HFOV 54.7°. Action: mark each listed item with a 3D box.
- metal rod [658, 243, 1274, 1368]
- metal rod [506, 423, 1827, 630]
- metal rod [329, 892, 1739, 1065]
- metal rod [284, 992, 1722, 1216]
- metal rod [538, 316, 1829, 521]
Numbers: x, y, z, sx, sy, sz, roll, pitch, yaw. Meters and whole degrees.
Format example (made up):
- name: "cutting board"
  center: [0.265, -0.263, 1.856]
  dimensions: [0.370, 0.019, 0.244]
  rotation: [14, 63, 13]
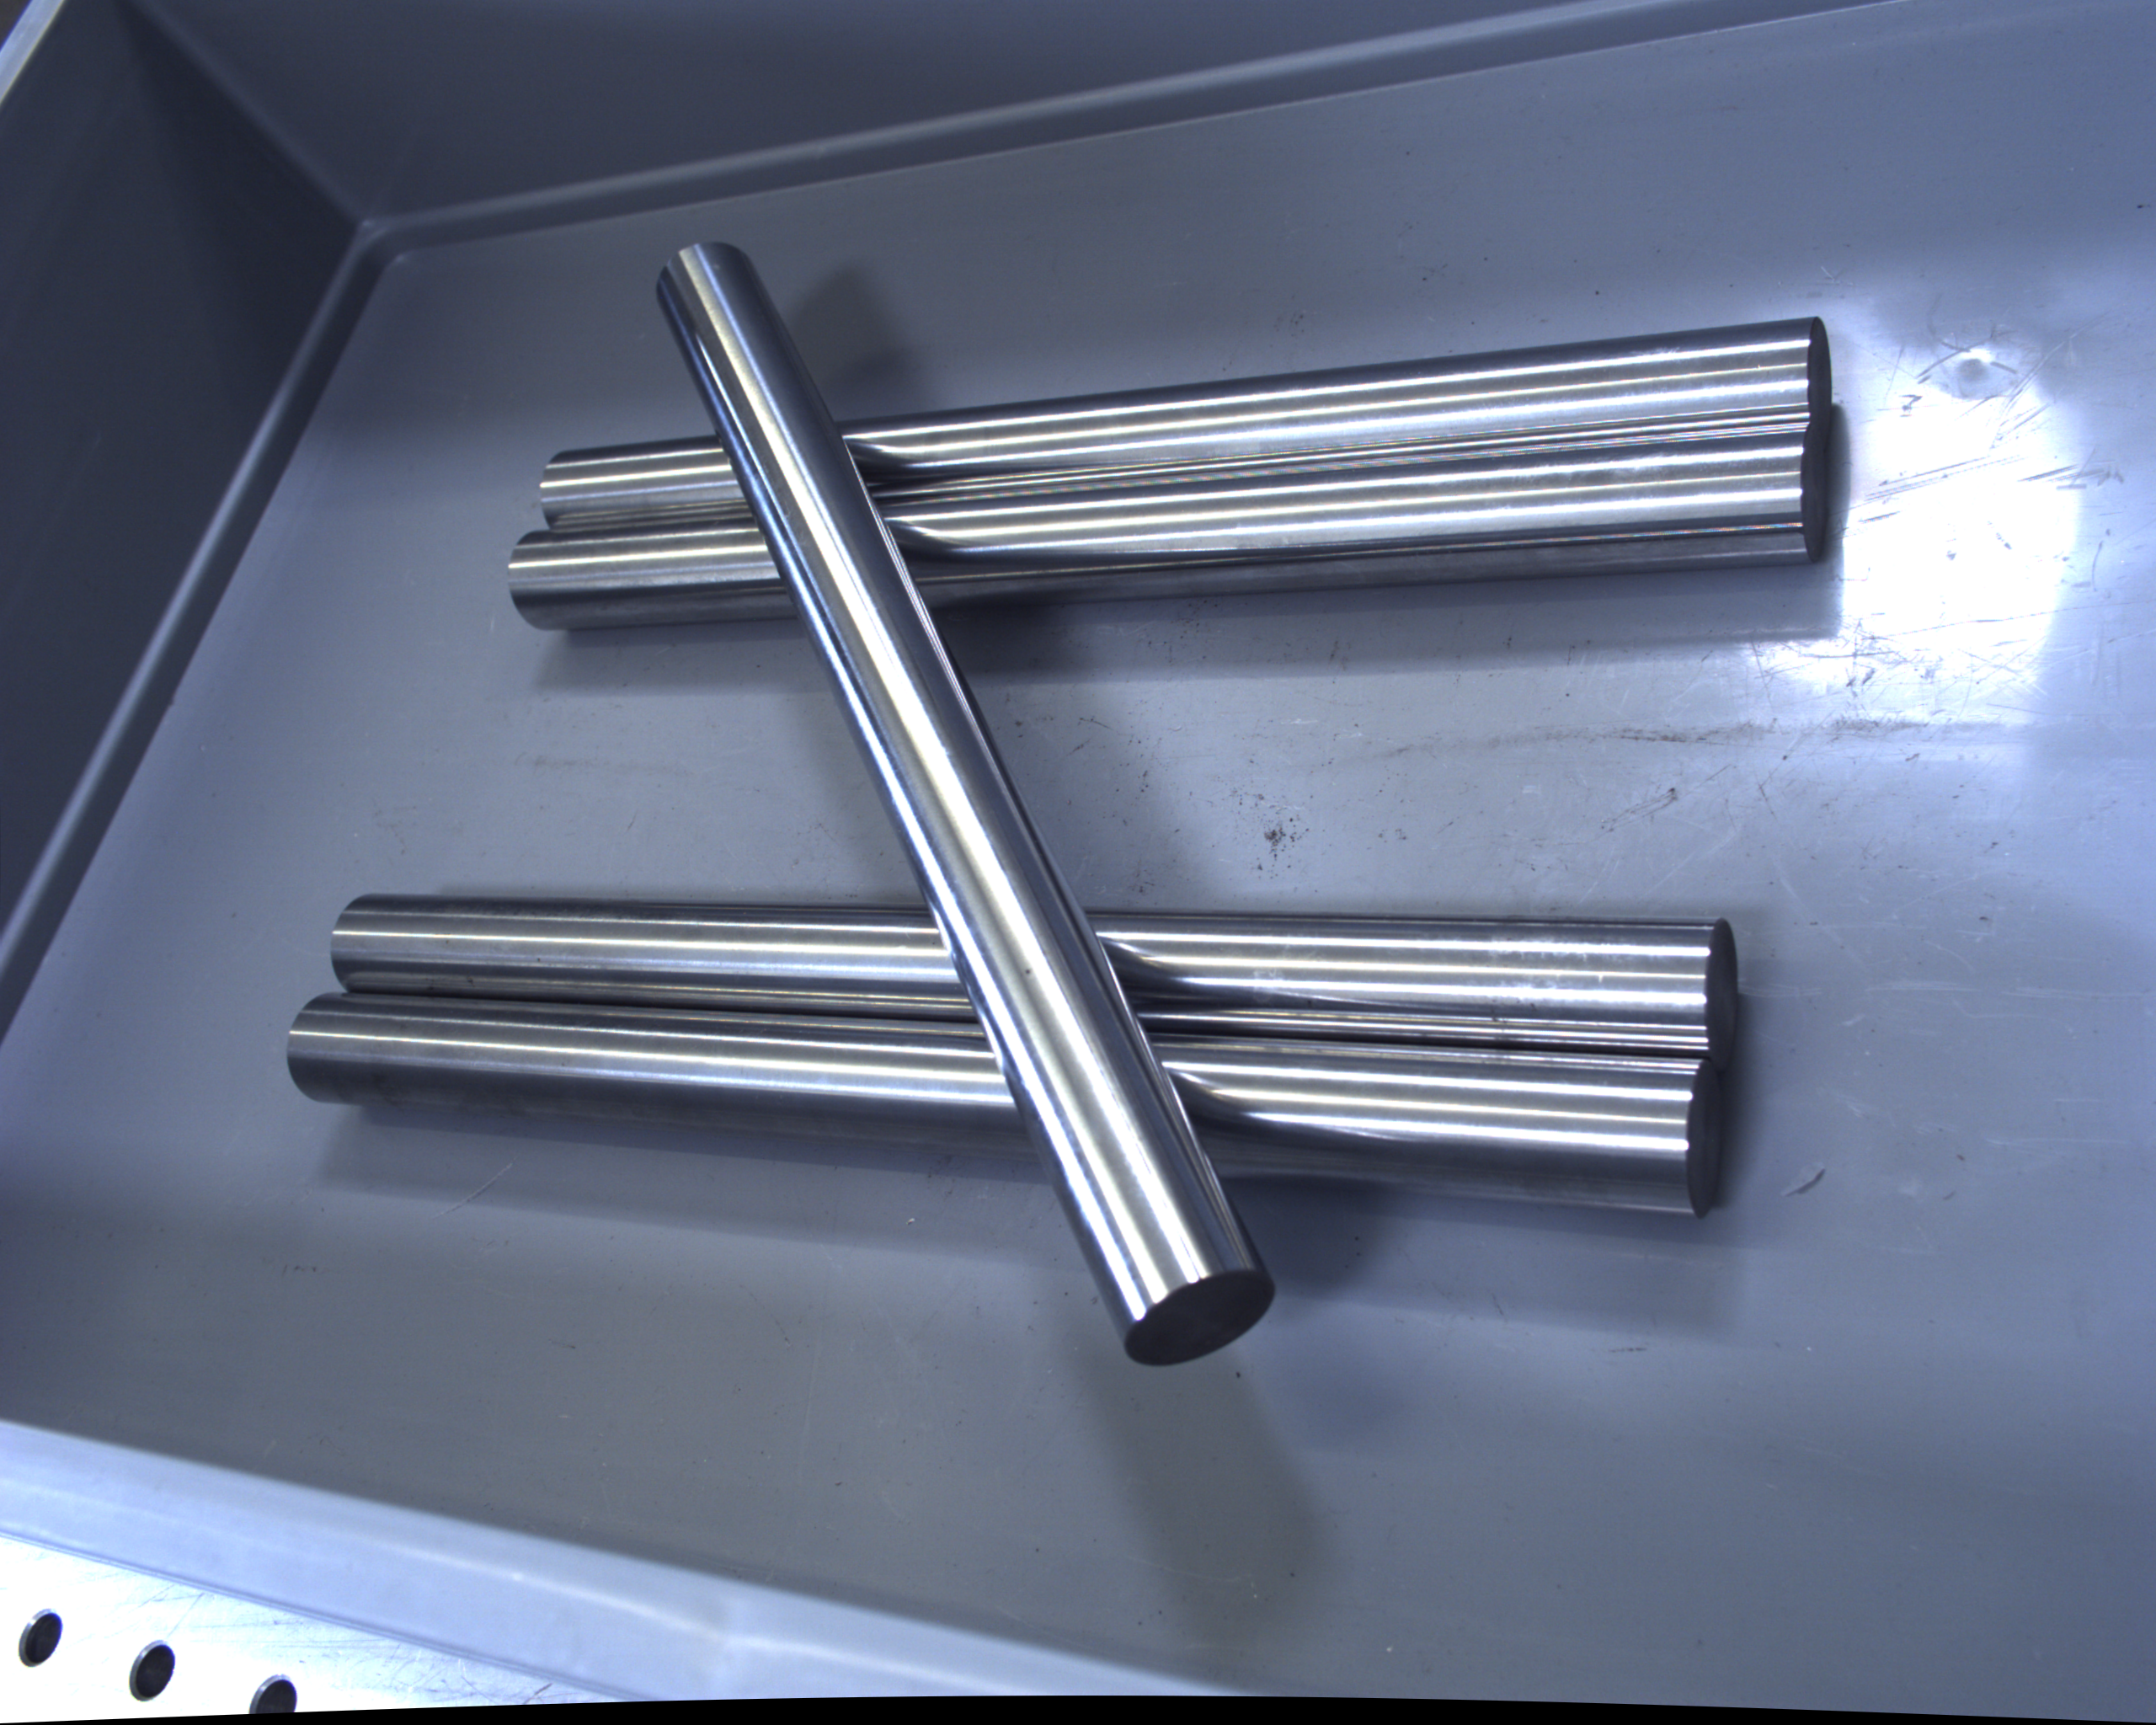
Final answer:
- name: "metal rod"
  center: [-0.036, -0.034, 0.412]
  dimensions: [0.025, 0.025, 0.300]
  rotation: [-33, 51, 7]
- name: "metal rod"
  center: [0.000, -0.068, 0.445]
  dimensions: [0.300, 0.025, 0.025]
  rotation: [1, 62, 28]
- name: "metal rod"
  center: [-0.029, 0.019, 0.407]
  dimensions: [0.300, 0.025, 0.025]
  rotation: [0, 62, 28]
- name: "metal rod"
  center: [-0.035, 0.042, 0.396]
  dimensions: [0.300, 0.025, 0.025]
  rotation: [0, 62, 28]
- name: "metal rod"
  center: [0.005, -0.090, 0.456]
  dimensions: [0.300, 0.025, 0.025]
  rotation: [1, 62, 28]
